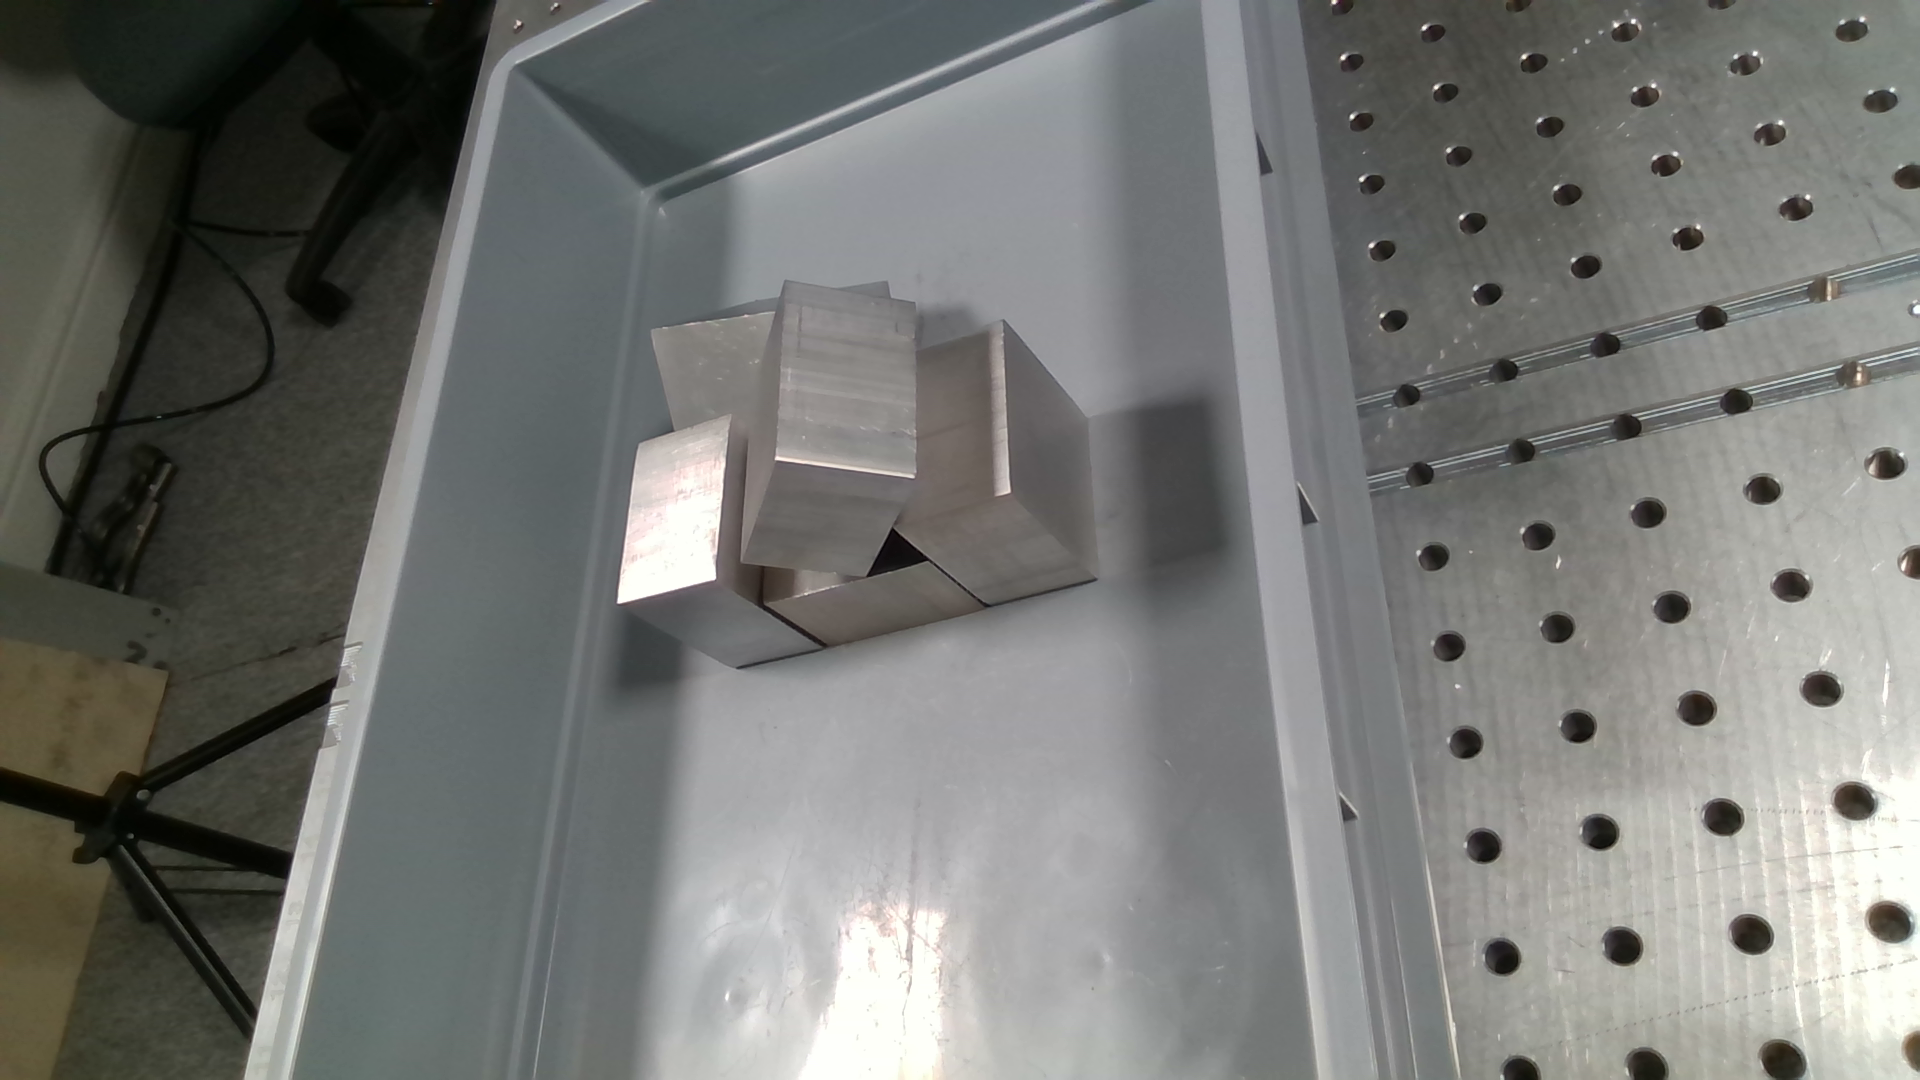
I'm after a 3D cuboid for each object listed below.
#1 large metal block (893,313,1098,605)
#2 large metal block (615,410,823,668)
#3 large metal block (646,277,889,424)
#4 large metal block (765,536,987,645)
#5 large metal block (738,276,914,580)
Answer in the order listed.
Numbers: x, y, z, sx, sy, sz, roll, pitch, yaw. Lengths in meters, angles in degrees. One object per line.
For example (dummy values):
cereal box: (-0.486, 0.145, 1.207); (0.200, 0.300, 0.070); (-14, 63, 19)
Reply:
large metal block: (0.014, -0.030, 0.555); (0.050, 0.080, 0.080); (-16, 58, 24)
large metal block: (-0.102, 0.002, 0.609); (0.050, 0.080, 0.080); (-14, 59, 25)
large metal block: (-0.082, -0.085, 0.634); (0.080, 0.080, 0.050); (-2, 107, 31)
large metal block: (-0.035, -0.007, 0.596); (0.080, 0.050, 0.080); (-15, 58, 24)
large metal block: (-0.052, -0.041, 0.530); (0.050, 0.080, 0.080); (7, 60, -15)
